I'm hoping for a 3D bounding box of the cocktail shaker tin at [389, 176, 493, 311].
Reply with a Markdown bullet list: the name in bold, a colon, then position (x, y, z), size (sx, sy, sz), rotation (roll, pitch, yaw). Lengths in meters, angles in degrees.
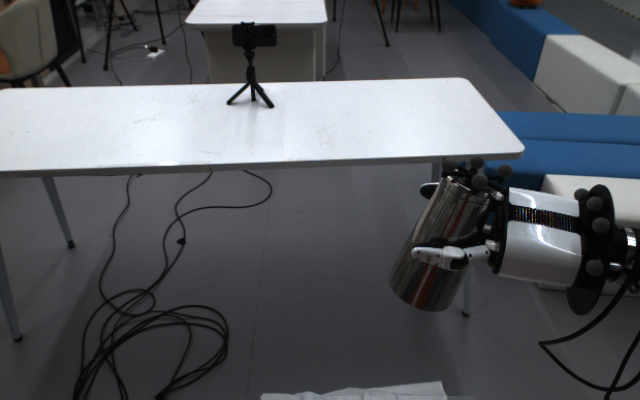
- **cocktail shaker tin**: position (0.162, 0.046, 0.621), size (0.093, 0.170, 0.093), rotation (12, 29, -7)
